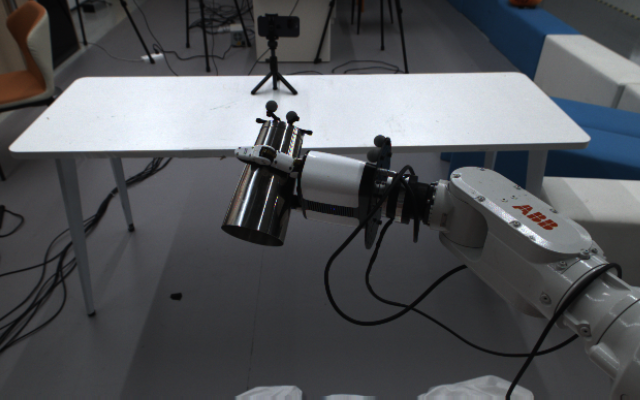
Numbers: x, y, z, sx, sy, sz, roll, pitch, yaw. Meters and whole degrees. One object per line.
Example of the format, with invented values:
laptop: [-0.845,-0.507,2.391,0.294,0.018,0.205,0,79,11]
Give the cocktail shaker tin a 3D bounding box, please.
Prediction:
cocktail shaker tin: [-0.076,-0.026,0.709,0.093,0.093,0.170,10,72,12]
